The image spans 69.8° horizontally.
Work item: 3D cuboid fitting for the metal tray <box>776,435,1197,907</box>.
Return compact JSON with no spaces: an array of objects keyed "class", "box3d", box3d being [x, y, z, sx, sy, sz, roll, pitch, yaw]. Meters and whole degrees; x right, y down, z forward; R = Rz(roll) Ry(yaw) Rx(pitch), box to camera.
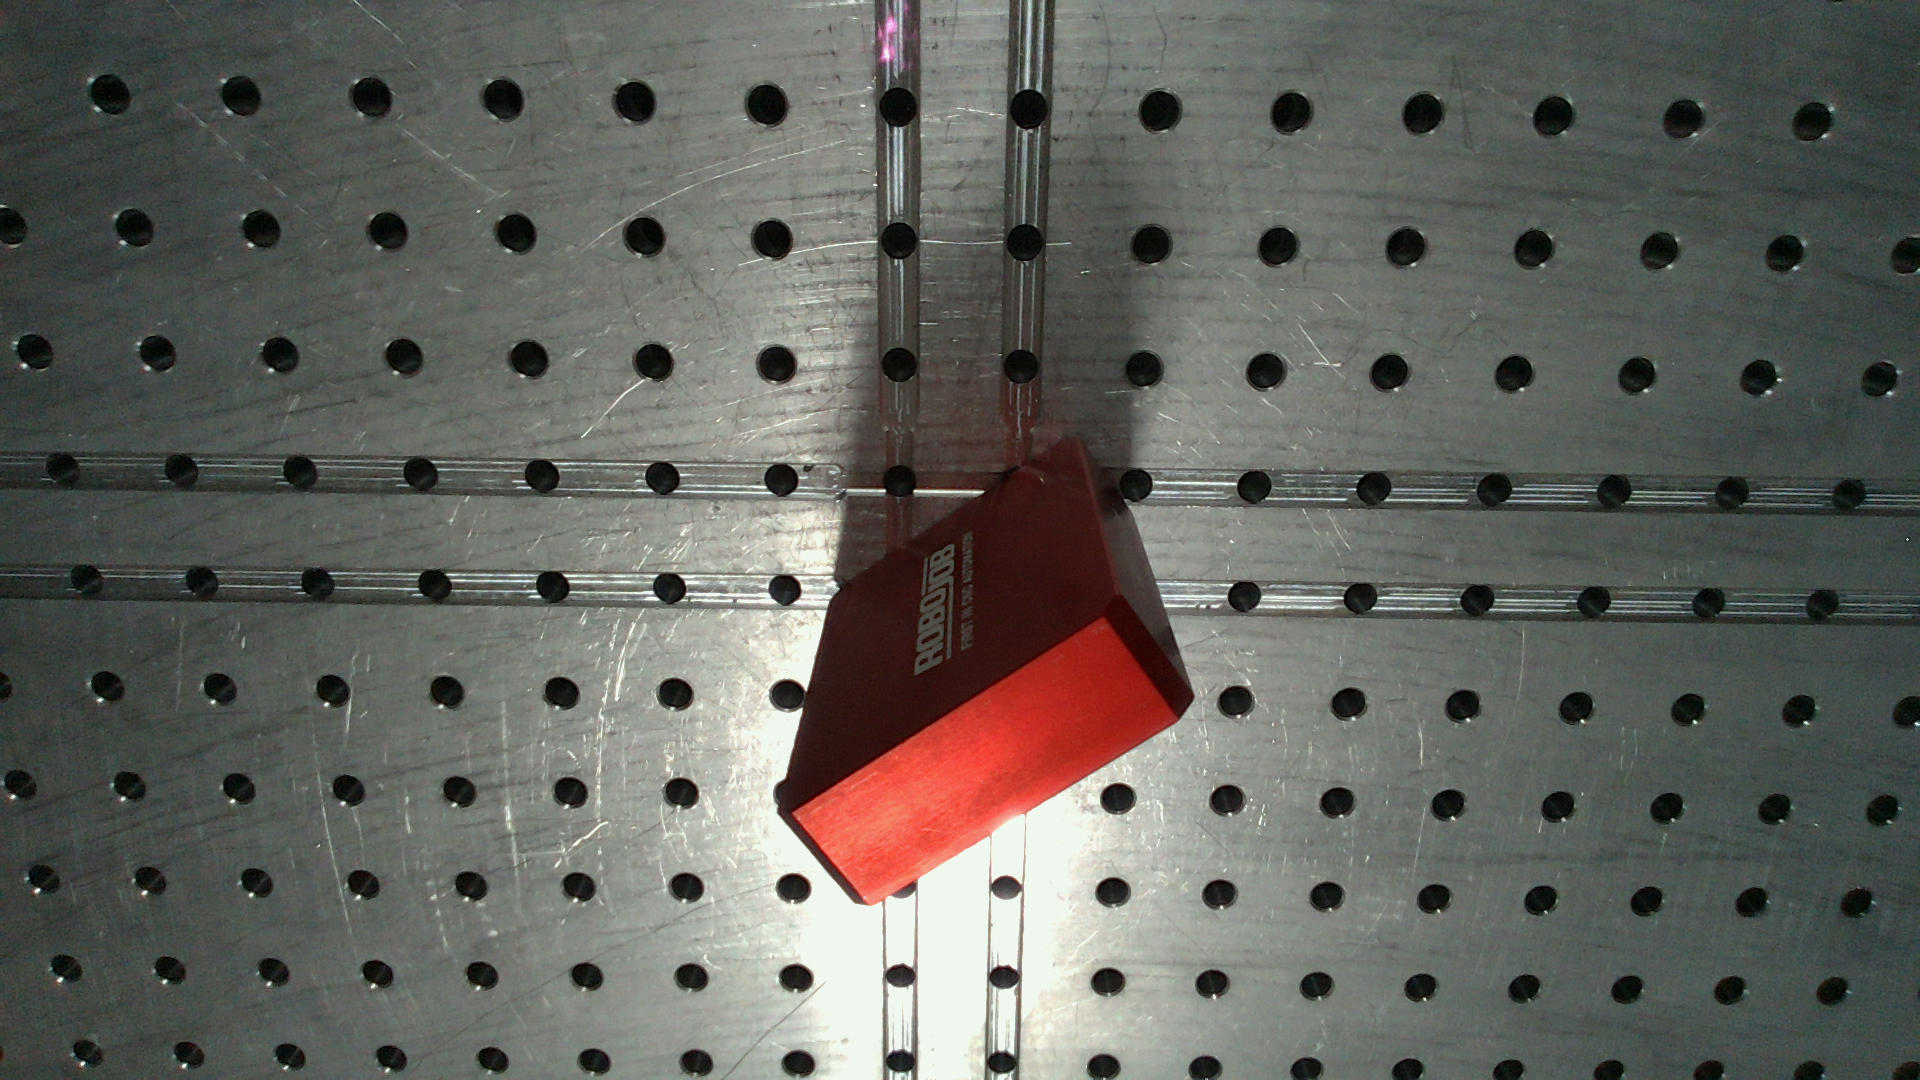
[{"class":"metal tray","box3d":[0.005,0.026,0.350,0.090,0.130,0.030,-33,106,11]}]
